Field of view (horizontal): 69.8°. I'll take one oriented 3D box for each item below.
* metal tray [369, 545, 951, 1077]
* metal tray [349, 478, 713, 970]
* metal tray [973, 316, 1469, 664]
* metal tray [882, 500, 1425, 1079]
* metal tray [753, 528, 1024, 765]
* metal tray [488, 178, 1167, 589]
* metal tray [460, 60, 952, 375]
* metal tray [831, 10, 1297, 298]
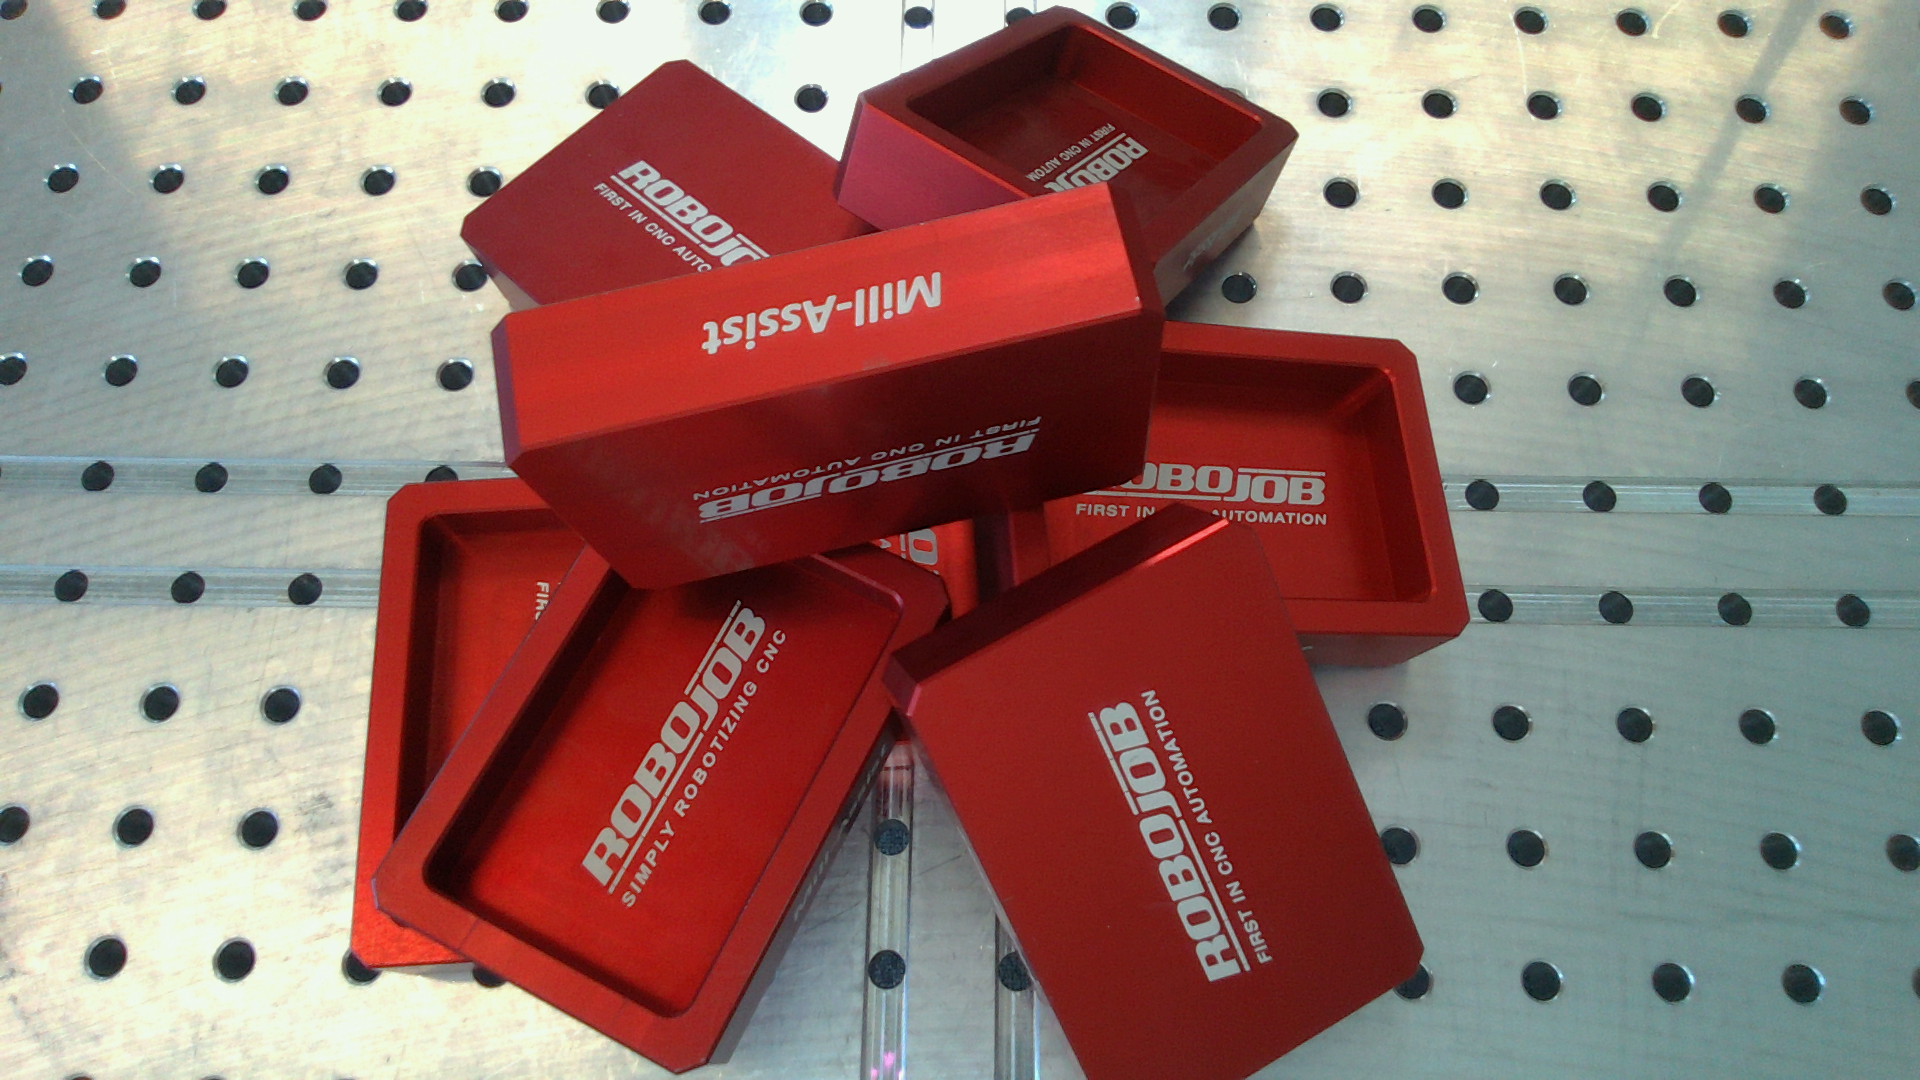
[{"bbox_3d":[-0.069,0.052,0.343,0.090,0.030,0.130,25,72,9],"label":"metal tray"},{"bbox_3d":[-0.111,0.047,0.377,0.090,0.030,0.130,-4,69,-2],"label":"metal tray"},{"bbox_3d":[0.069,-0.013,0.380,0.130,0.030,0.090,2,69,-18],"label":"metal tray"},{"bbox_3d":[0.049,0.068,0.334,0.090,0.030,0.130,-28,105,-9],"label":"metal tray"},{"bbox_3d":[-0.015,-0.003,0.395,0.090,0.030,0.130,-4,68,-3],"label":"metal tray"},{"bbox_3d":[-0.024,-0.029,0.304,0.130,0.090,0.030,-13,70,0],"label":"metal tray"},{"bbox_3d":[-0.075,-0.081,0.406,0.090,0.030,0.130,-43,60,-14],"label":"metal tray"},{"bbox_3d":[0.035,-0.109,0.399,0.090,0.030,0.130,32,40,11],"label":"metal tray"}]
